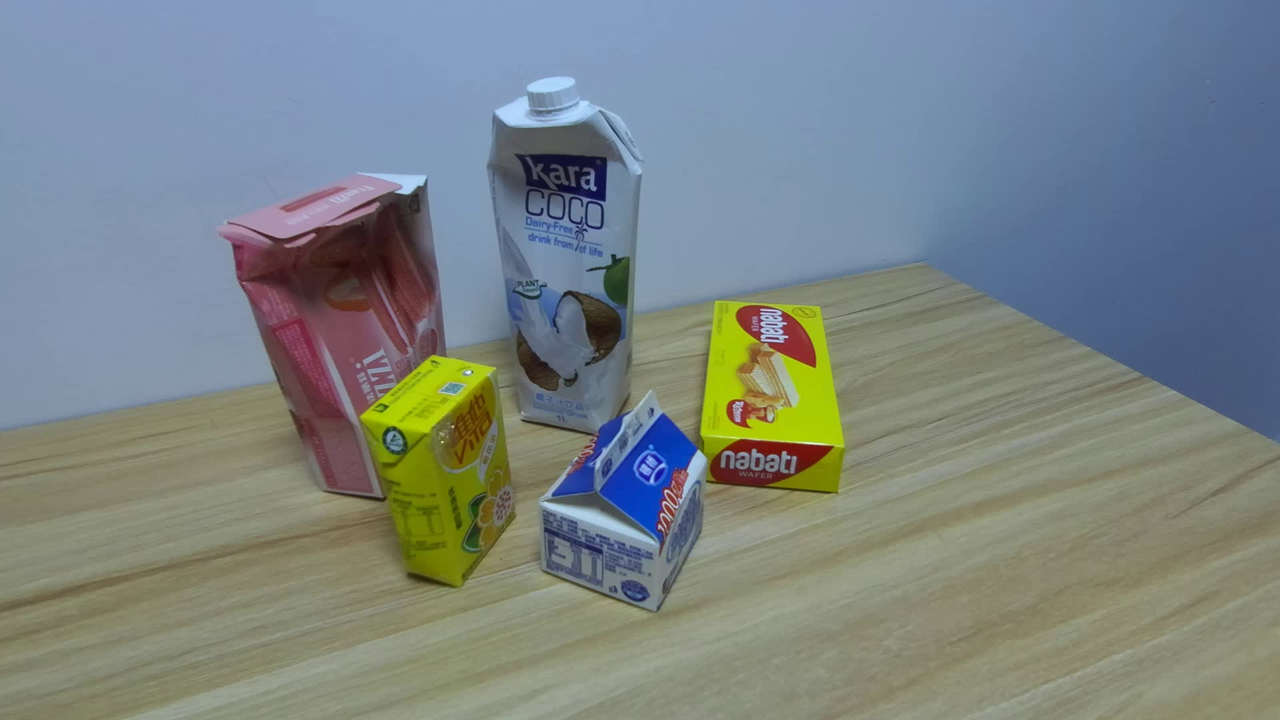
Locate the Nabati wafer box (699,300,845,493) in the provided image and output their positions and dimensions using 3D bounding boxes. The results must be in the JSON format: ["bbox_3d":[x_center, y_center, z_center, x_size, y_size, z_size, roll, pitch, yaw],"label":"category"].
[{"bbox_3d":[0.097,0.017,0.536,0.092,0.042,0.203,5,31,7],"label":"Nabati wafer box"}]

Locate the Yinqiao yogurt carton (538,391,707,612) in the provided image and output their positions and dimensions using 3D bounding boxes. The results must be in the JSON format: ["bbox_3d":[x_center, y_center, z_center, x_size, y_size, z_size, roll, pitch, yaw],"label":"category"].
[{"bbox_3d":[-0.008,0.072,0.393,0.073,0.092,0.076,13,34,21],"label":"Yinqiao yogurt carton"}]

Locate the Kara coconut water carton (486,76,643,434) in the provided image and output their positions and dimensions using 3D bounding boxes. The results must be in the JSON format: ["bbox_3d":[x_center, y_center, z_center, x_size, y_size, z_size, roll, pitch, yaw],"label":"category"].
[{"bbox_3d":[-0.049,-0.065,0.480,0.115,0.239,0.069,10,32,16],"label":"Kara coconut water carton"}]

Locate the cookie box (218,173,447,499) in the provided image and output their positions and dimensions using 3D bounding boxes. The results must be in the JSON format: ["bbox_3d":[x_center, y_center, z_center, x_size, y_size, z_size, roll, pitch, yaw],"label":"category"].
[{"bbox_3d":[-0.172,-0.011,0.442,0.055,0.184,0.118,11,33,17],"label":"cookie box"}]

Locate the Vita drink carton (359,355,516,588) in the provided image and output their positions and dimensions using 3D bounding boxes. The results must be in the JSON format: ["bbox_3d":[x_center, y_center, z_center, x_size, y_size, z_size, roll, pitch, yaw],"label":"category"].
[{"bbox_3d":[-0.109,0.064,0.391,0.043,0.109,0.076,10,32,19],"label":"Vita drink carton"}]
